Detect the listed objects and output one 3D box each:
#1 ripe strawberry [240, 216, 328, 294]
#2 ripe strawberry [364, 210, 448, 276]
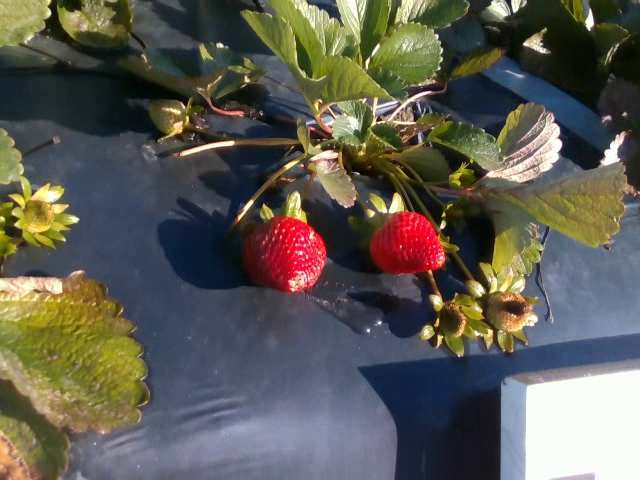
[{"bbox_3d":[-0.018,0.011,0.303,0.050,0.045,0.050,16,20,-18],"label":"ripe strawberry"},{"bbox_3d":[0.051,0.004,0.328,0.049,0.042,0.039,34,-12,49],"label":"ripe strawberry"}]
